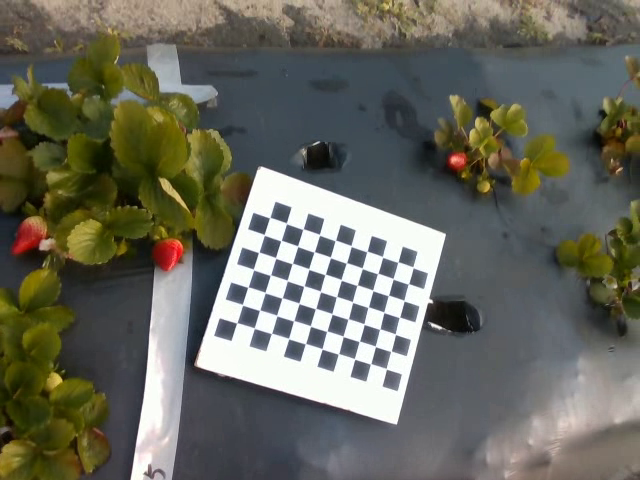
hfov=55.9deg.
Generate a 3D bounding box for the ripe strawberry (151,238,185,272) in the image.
[{"bbox_3d":[-0.182,0.019,0.718,0.050,0.055,0.036,14,-28,-18],"label":"ripe strawberry"}]
